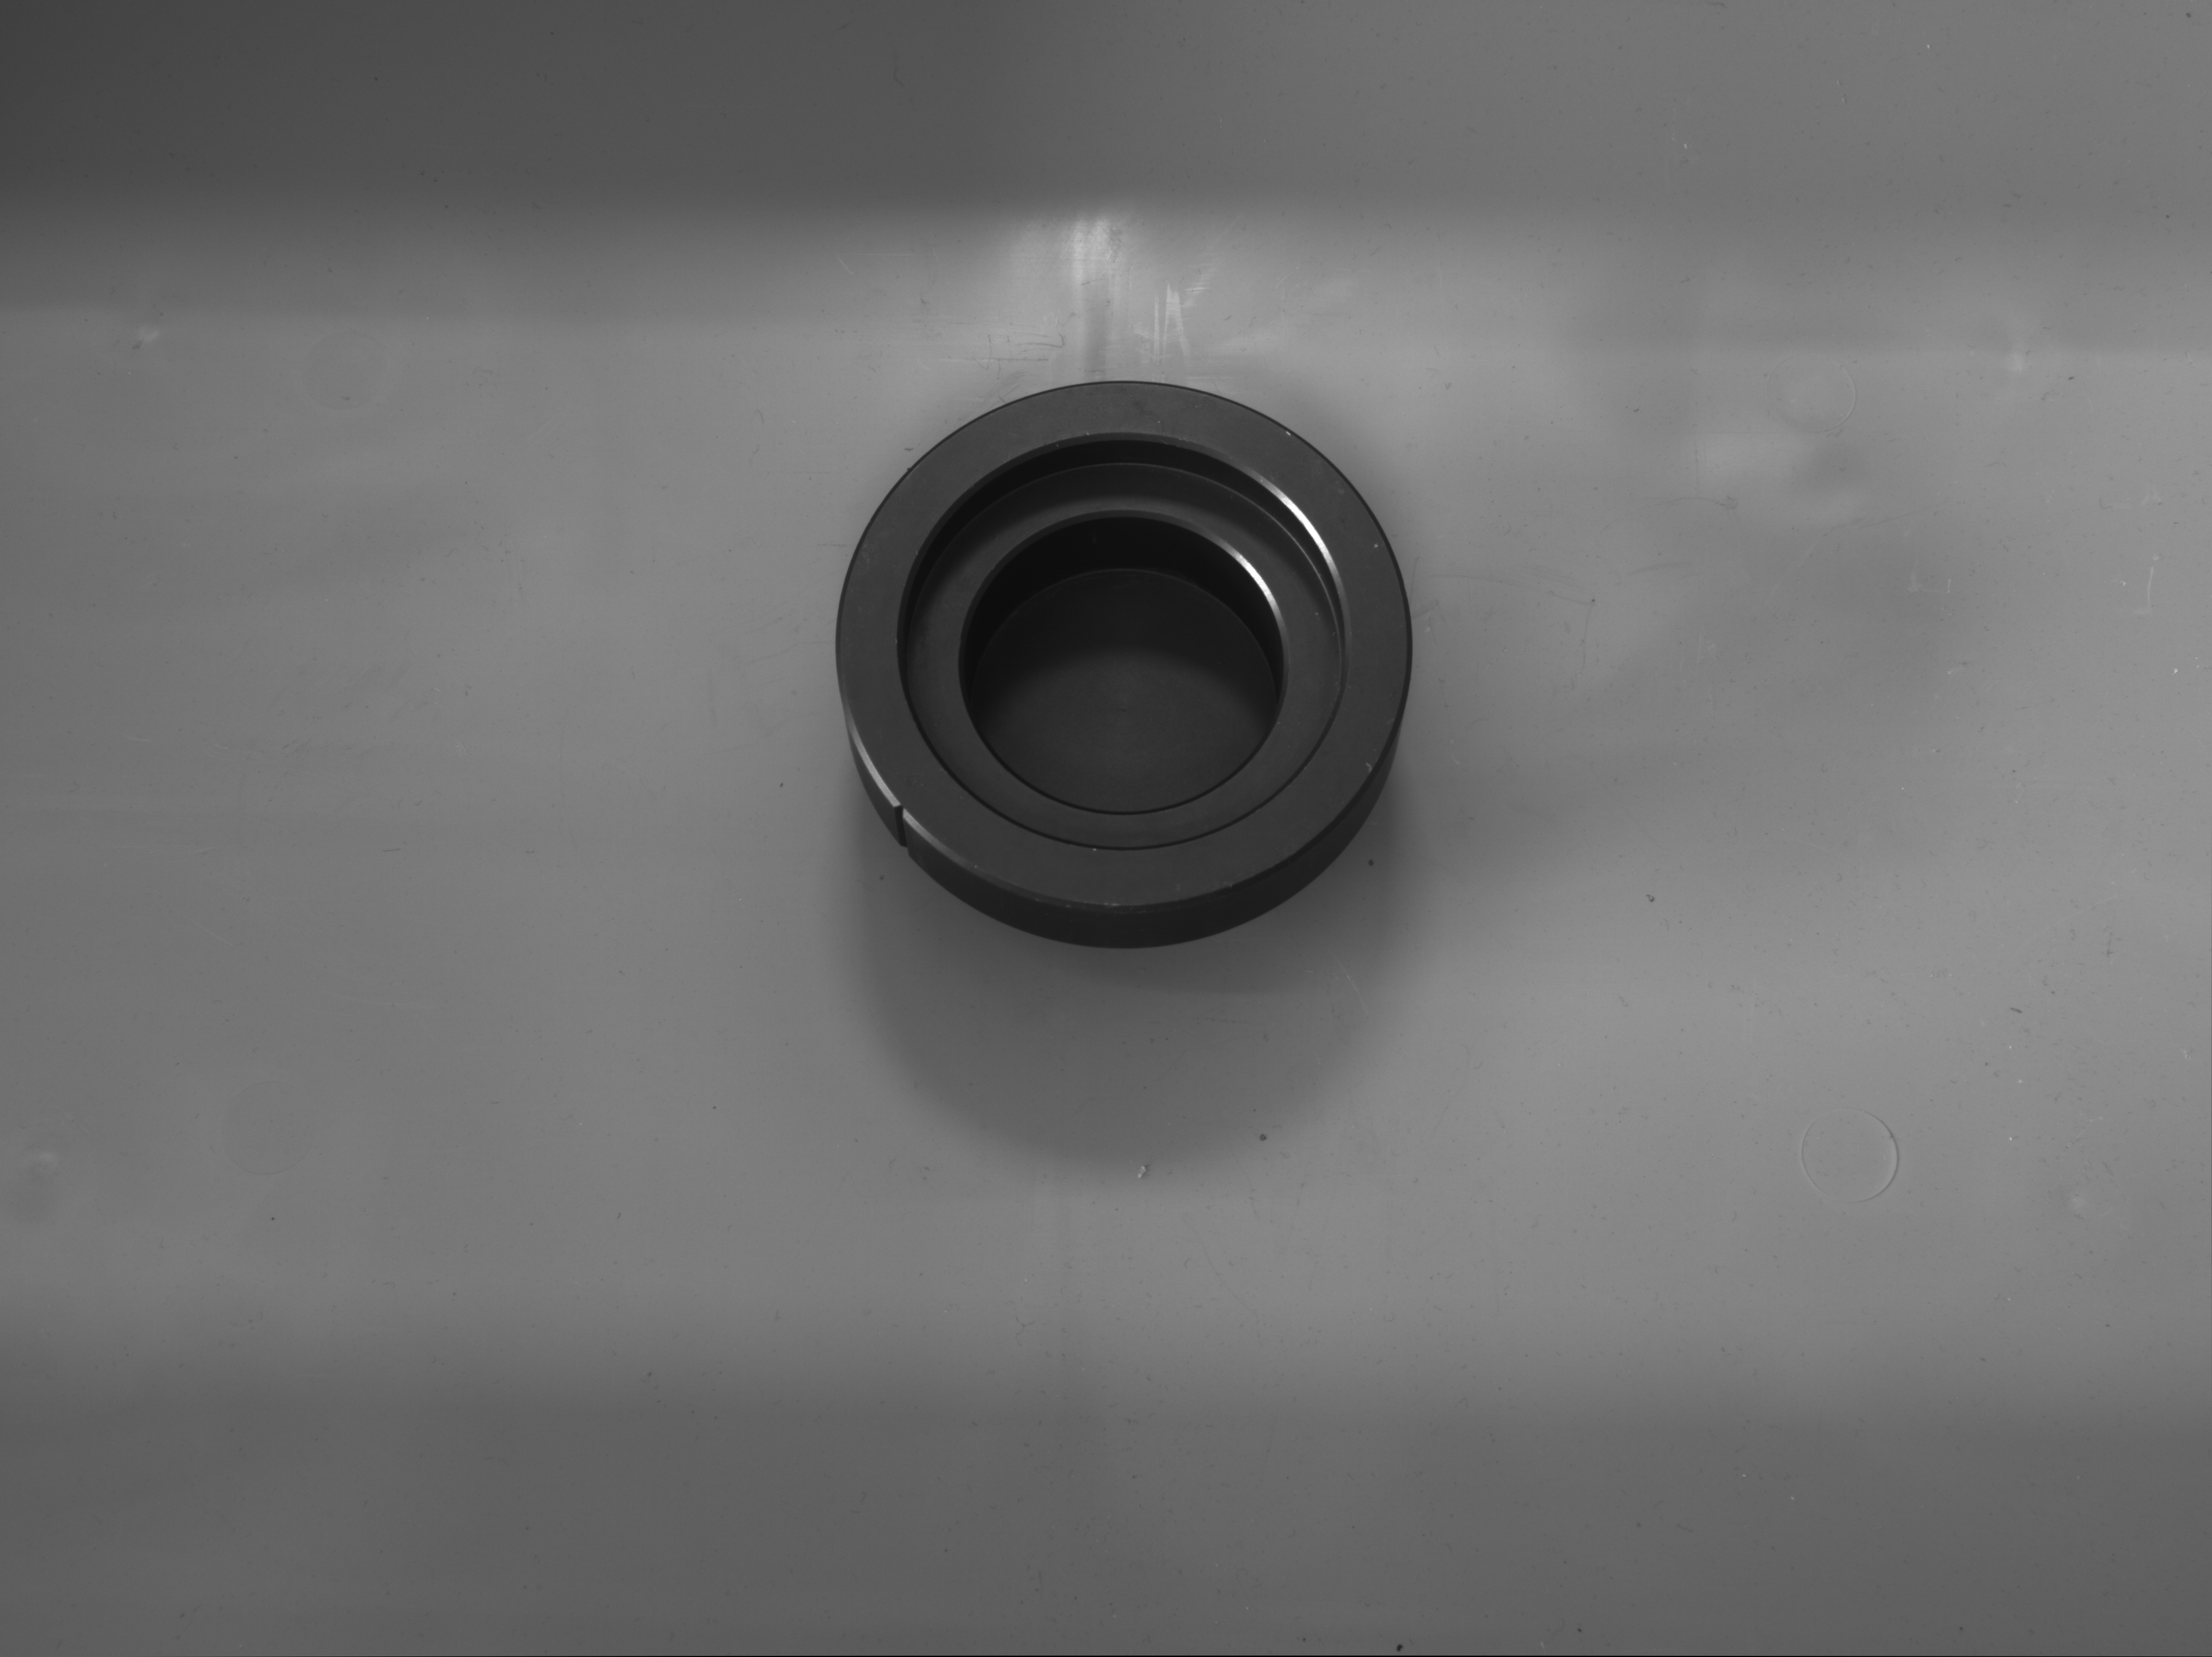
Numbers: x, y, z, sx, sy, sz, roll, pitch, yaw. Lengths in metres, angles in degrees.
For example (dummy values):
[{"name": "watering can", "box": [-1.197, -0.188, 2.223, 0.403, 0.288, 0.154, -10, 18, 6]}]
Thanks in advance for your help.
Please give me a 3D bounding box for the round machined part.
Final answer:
[{"name": "round machined part", "box": [0.003, -0.025, 0.643, 0.098, 0.042, 0.098, 0, 70, 0]}]
